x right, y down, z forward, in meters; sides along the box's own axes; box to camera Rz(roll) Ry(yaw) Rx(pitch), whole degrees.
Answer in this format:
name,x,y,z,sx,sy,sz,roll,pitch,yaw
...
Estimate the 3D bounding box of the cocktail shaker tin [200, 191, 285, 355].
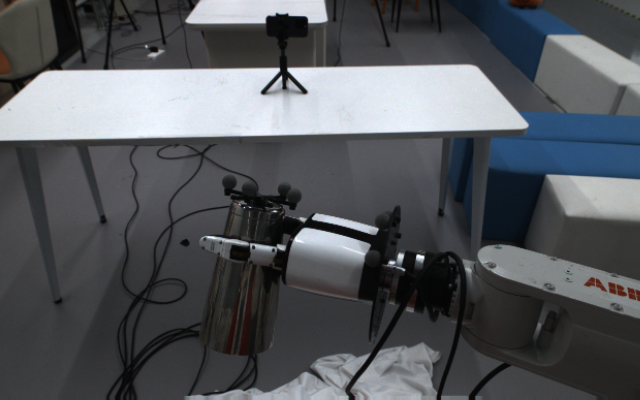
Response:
name,x,y,z,sx,sy,sz,roll,pitch,yaw
cocktail shaker tin,-0.084,0.086,0.588,0.093,0.170,0.093,10,9,-2
